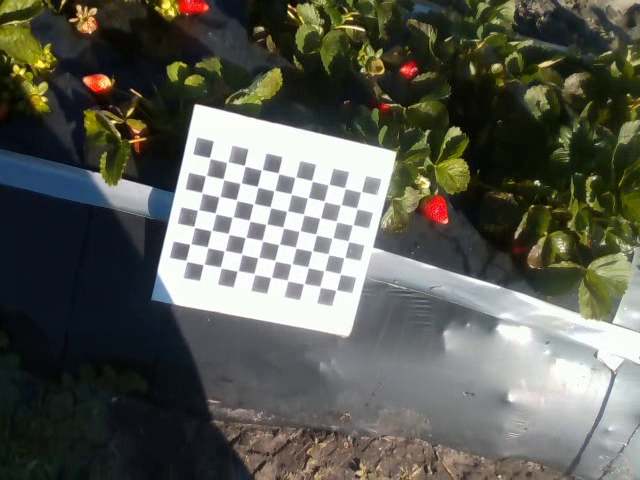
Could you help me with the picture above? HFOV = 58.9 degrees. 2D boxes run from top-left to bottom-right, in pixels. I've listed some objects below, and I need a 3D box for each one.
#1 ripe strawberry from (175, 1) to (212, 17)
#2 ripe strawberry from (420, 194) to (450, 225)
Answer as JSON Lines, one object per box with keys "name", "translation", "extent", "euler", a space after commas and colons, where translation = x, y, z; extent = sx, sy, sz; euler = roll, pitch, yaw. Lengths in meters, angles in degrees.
{"name": "ripe strawberry", "translation": [-0.217, -0.408, 0.972], "extent": [0.064, 0.050, 0.052], "euler": [20, 5, 2]}
{"name": "ripe strawberry", "translation": [0.183, -0.044, 0.879], "extent": [0.048, 0.055, 0.030], "euler": [-33, 8, -1]}
